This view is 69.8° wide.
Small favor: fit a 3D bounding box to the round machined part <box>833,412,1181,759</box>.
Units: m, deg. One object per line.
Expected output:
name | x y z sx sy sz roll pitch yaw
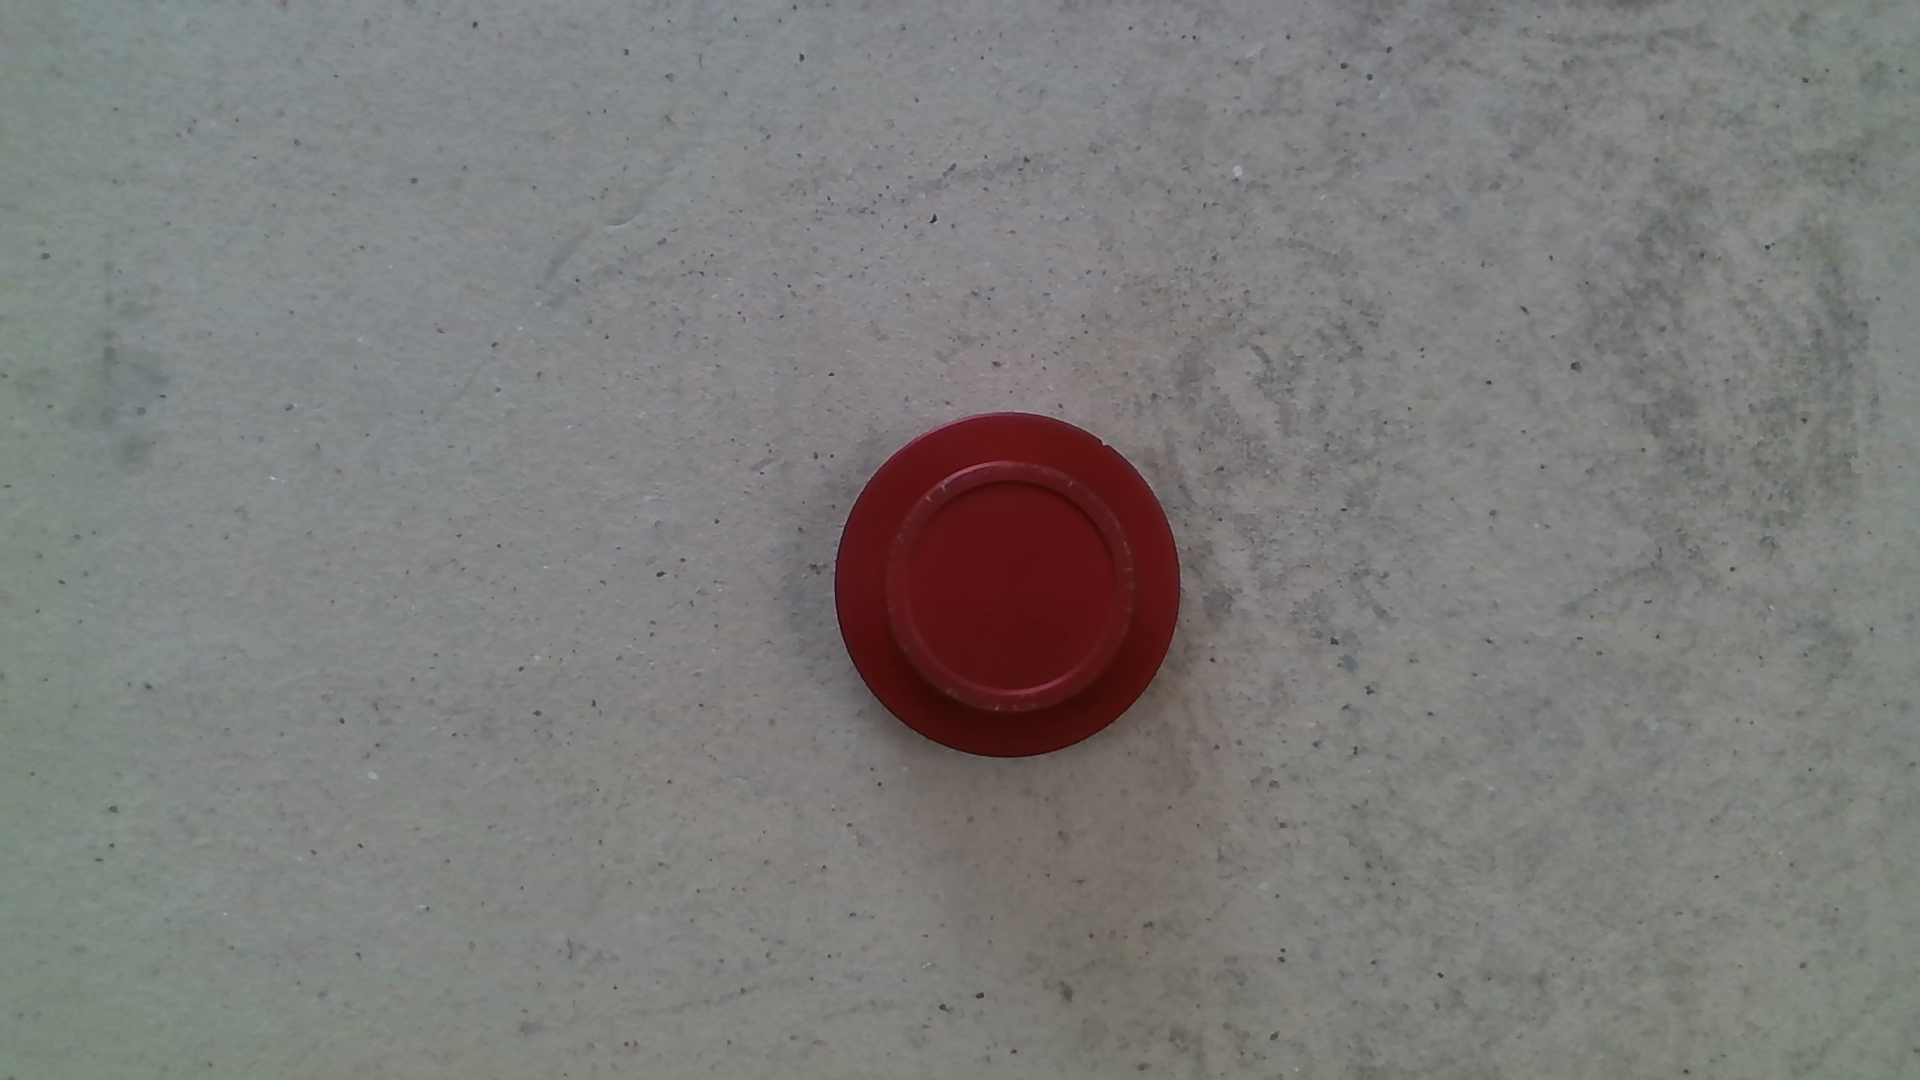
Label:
round machined part | 0.013 0.013 0.387 0.098 0.042 0.098 0 90 0
